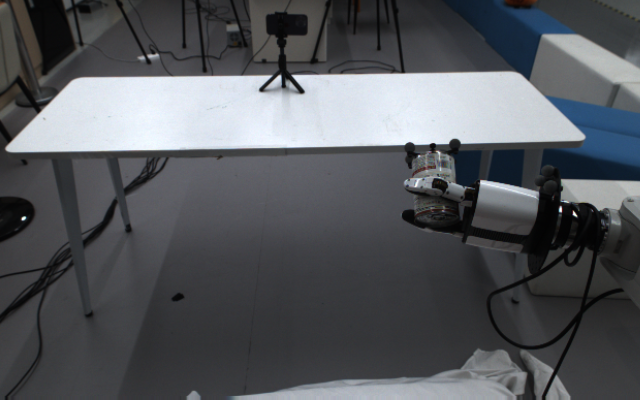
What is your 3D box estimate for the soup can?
[{"bbox_3d":[0.178,-0.017,0.745,0.067,0.067,0.101,2,68,0],"label":"soup can"}]
